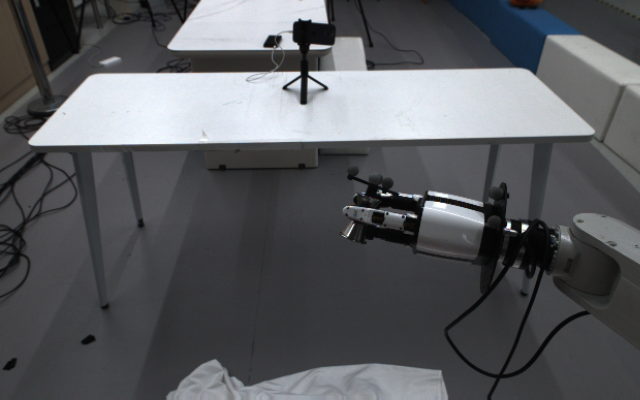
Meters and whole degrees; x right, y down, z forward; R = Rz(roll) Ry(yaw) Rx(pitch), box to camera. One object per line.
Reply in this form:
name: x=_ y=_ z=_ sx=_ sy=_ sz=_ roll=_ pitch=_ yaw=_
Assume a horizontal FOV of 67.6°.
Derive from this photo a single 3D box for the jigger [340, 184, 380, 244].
jigger: x=0.059 y=0.024 z=0.714 sx=0.043 sy=0.071 sz=0.043 roll=22 pitch=6 yaw=-2
